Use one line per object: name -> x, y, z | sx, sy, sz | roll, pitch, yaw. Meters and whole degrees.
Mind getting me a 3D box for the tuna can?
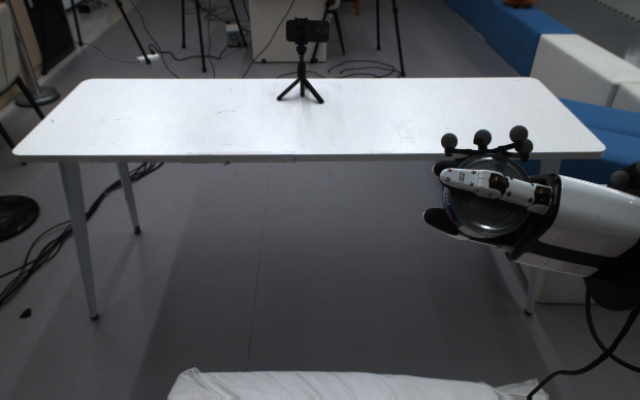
tuna can -> 0.176, -0.006, 0.506 | 0.085, 0.034, 0.085 | 0, 74, 1
